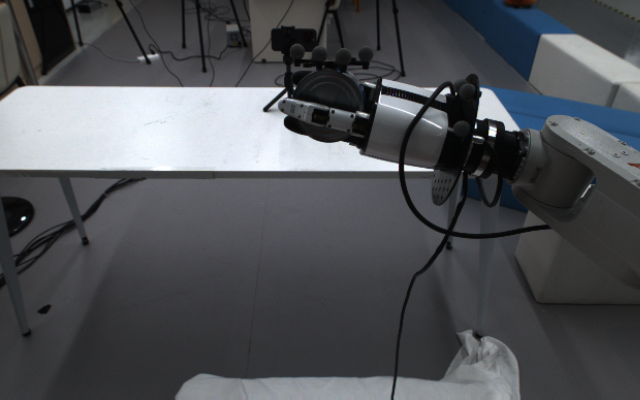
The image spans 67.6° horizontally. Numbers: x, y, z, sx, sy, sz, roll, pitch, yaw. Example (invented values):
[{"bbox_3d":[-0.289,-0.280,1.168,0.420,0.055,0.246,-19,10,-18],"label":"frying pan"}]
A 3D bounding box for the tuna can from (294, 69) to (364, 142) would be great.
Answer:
[{"bbox_3d":[0.013,-0.115,0.577,0.085,0.085,0.034,9,23,10],"label":"tuna can"}]
